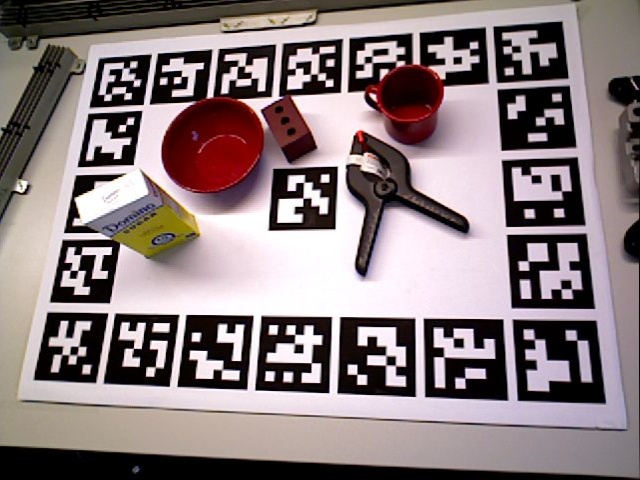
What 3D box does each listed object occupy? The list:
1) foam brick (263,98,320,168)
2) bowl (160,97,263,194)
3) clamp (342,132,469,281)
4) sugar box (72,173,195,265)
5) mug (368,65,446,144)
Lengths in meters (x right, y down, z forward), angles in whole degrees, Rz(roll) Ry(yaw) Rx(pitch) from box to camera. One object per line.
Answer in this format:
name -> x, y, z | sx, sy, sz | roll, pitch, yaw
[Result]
foam brick -> -0.042, -0.158, 0.812 | 0.053, 0.051, 0.078 | -27, 72, 1
bowl -> -0.159, -0.132, 0.818 | 0.162, 0.055, 0.160 | -3, 73, 8
clamp -> 0.089, -0.065, 0.757 | 0.165, 0.037, 0.202 | -24, 72, 5
sugar box -> -0.245, -0.023, 0.738 | 0.092, 0.177, 0.045 | -24, 72, -1
mug -> 0.122, -0.193, 0.768 | 0.117, 0.082, 0.093 | 25, 79, 13
